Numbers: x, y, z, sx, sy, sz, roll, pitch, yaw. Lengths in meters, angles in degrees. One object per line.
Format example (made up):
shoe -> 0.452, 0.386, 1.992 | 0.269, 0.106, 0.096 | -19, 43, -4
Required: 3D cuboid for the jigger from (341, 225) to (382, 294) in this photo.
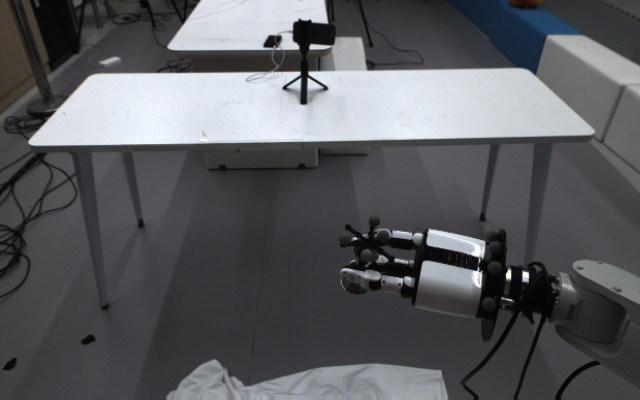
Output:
jigger -> 0.059, 0.101, 0.719 | 0.043, 0.071, 0.043 | 10, 35, -7
